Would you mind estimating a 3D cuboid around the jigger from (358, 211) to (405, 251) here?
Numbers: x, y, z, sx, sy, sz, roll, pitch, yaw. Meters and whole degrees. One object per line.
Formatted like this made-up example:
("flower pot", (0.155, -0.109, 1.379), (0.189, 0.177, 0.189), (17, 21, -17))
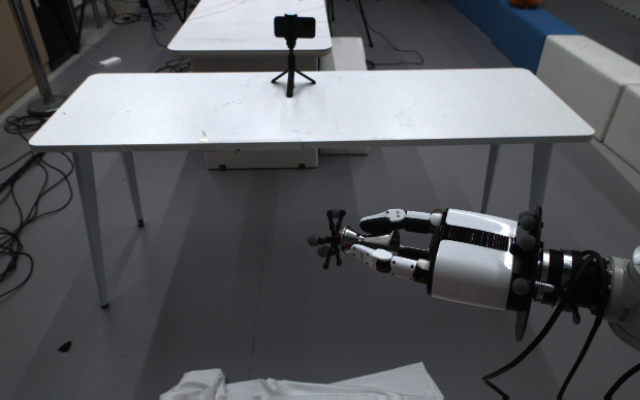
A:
("jigger", (0.073, 0.050, 0.632), (0.071, 0.043, 0.043), (3, 32, 27))
